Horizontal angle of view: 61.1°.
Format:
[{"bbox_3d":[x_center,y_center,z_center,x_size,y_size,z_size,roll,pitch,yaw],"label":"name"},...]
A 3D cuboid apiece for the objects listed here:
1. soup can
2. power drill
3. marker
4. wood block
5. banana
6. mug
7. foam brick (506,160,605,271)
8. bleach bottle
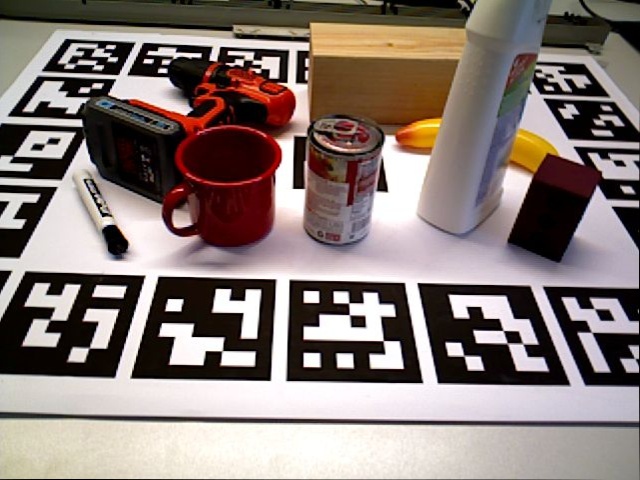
[{"bbox_3d":[0.010,-0.055,0.482,0.067,0.104,0.067,3,40,-4],"label":"soup can"},{"bbox_3d":[-0.149,-0.133,0.601,0.184,0.059,0.182,25,46,16],"label":"power drill"},{"bbox_3d":[-0.216,-0.022,0.504,0.019,0.020,0.120,-22,50,-22],"label":"marker"},{"bbox_3d":[0.084,-0.194,0.652,0.205,0.093,0.088,1,45,-3],"label":"wood block"},{"bbox_3d":[0.164,-0.114,0.607,0.197,0.039,0.073,14,59,8],"label":"banana"},{"bbox_3d":[-0.098,-0.045,0.486,0.093,0.083,0.114,36,55,26],"label":"mug"},{"bbox_3d":[0.211,-0.022,0.492,0.053,0.080,0.050,25,45,23],"label":"foam brick"},{"bbox_3d":[0.138,-0.122,0.460,0.068,0.256,0.100,23,45,19],"label":"bleach bottle"}]
